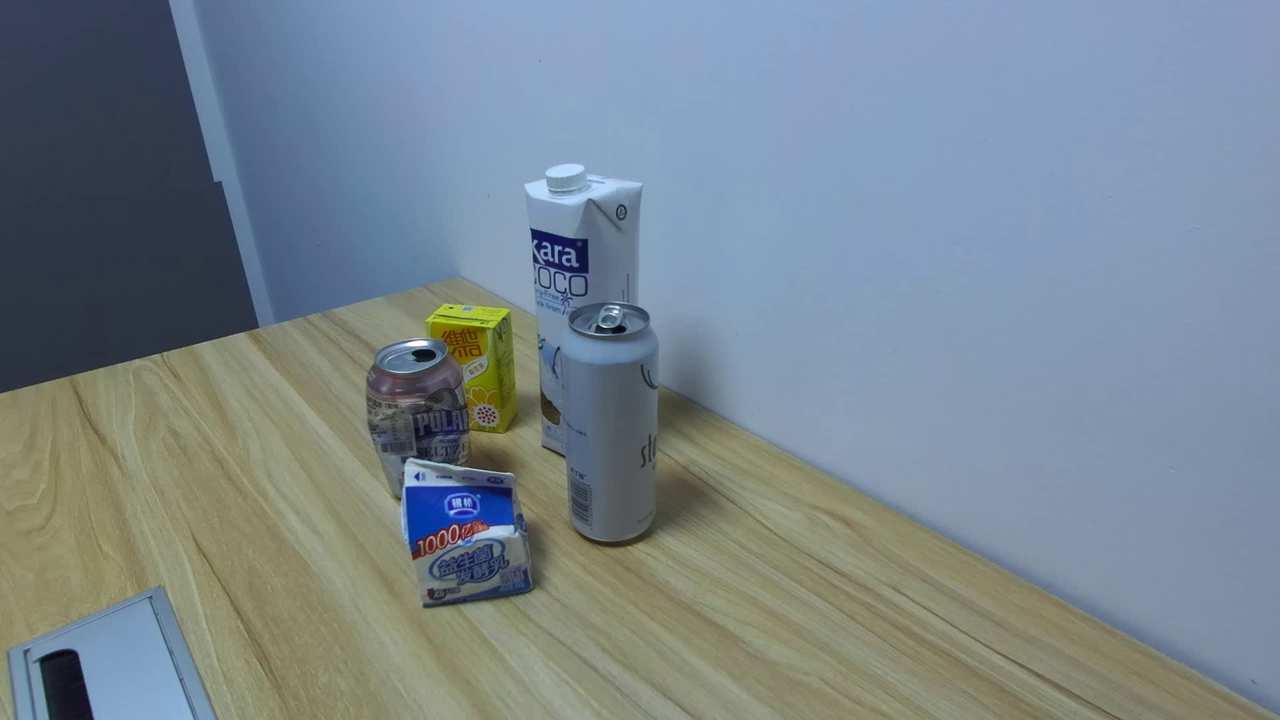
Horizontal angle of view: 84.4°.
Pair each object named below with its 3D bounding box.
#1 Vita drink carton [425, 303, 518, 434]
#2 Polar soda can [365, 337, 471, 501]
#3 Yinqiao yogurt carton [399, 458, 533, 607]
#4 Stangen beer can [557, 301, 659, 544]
[{"bbox_3d":[-0.151,0.007,0.645,0.066,0.109,0.043,6,28,11],"label":"Vita drink carton"},{"bbox_3d":[-0.170,0.049,0.557,0.074,0.122,0.067,10,29,17],"label":"Polar soda can"},{"bbox_3d":[-0.119,0.103,0.477,0.083,0.093,0.077,-5,28,-11],"label":"Yinqiao yogurt carton"},{"bbox_3d":[-0.021,0.047,0.503,0.067,0.171,0.067,0,27,0],"label":"Stangen beer can"}]
